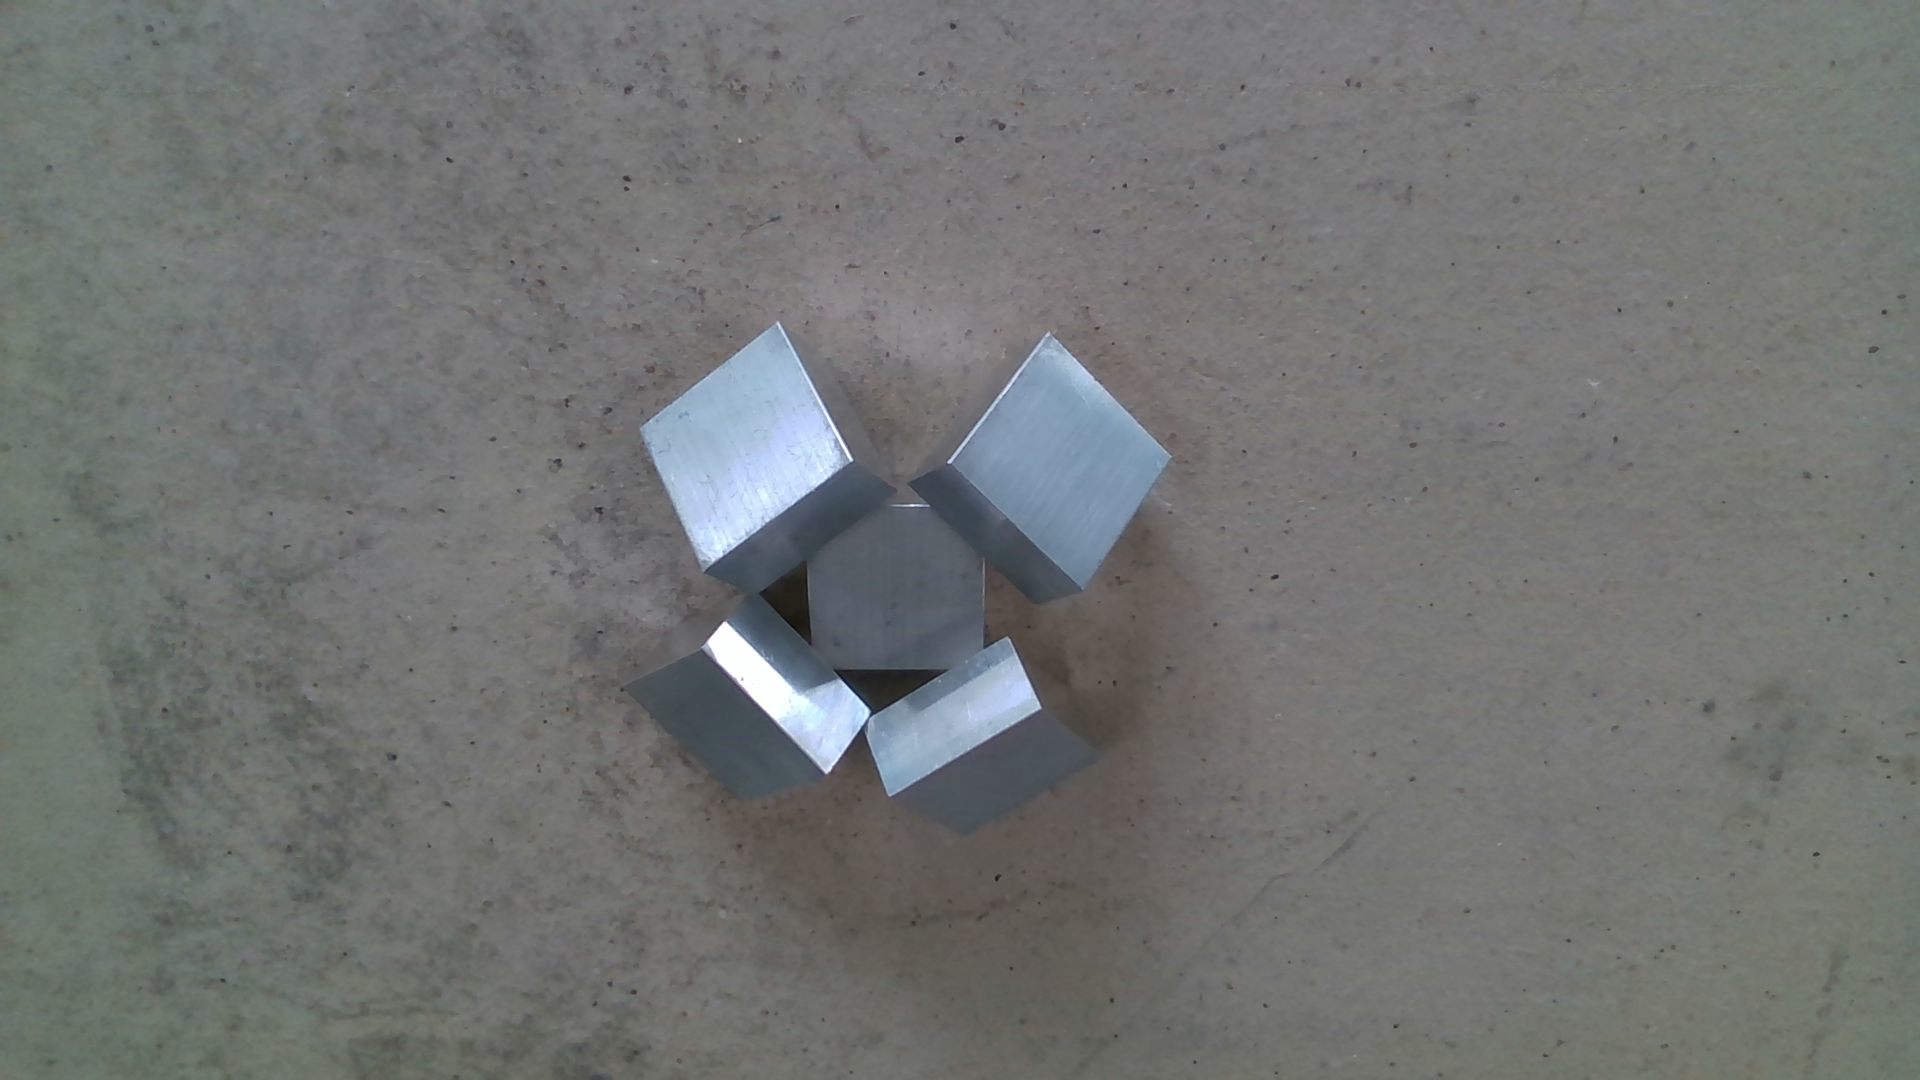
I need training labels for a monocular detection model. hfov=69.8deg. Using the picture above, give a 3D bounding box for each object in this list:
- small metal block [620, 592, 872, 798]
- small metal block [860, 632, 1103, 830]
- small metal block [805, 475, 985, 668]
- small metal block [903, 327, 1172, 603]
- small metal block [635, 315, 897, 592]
[{"bbox_3d":[-0.062,0.045,0.397,0.050,0.025,0.050,48,141,-15],"label":"small metal block"},{"bbox_3d":[0.007,0.057,0.402,0.050,0.025,0.050,-31,148,11],"label":"small metal block"},{"bbox_3d":[-0.018,0.009,0.397,0.050,0.025,0.050,0,111,0],"label":"small metal block"},{"bbox_3d":[0.022,-0.020,0.373,0.050,0.025,0.050,43,63,-15],"label":"small metal block"},{"bbox_3d":[-0.053,-0.023,0.371,0.050,0.025,0.050,-36,63,12],"label":"small metal block"}]
